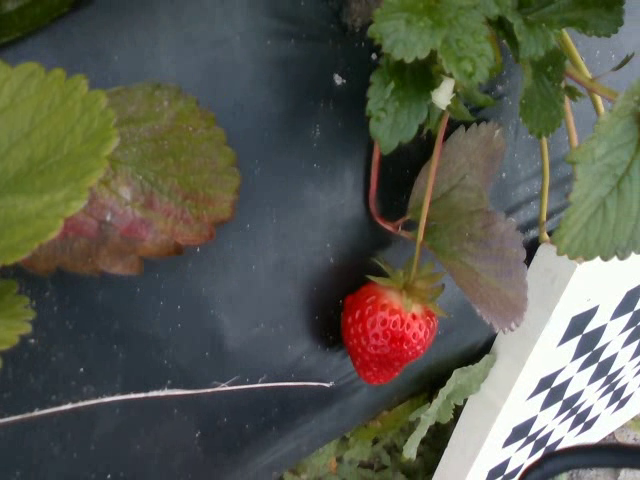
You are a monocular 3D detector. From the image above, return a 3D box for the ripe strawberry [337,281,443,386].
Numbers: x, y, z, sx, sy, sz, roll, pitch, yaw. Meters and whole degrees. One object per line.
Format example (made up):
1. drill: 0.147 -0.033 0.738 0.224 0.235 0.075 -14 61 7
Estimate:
1. ripe strawberry: 0.018 0.026 0.154 0.028 0.033 0.023 2 32 -36
